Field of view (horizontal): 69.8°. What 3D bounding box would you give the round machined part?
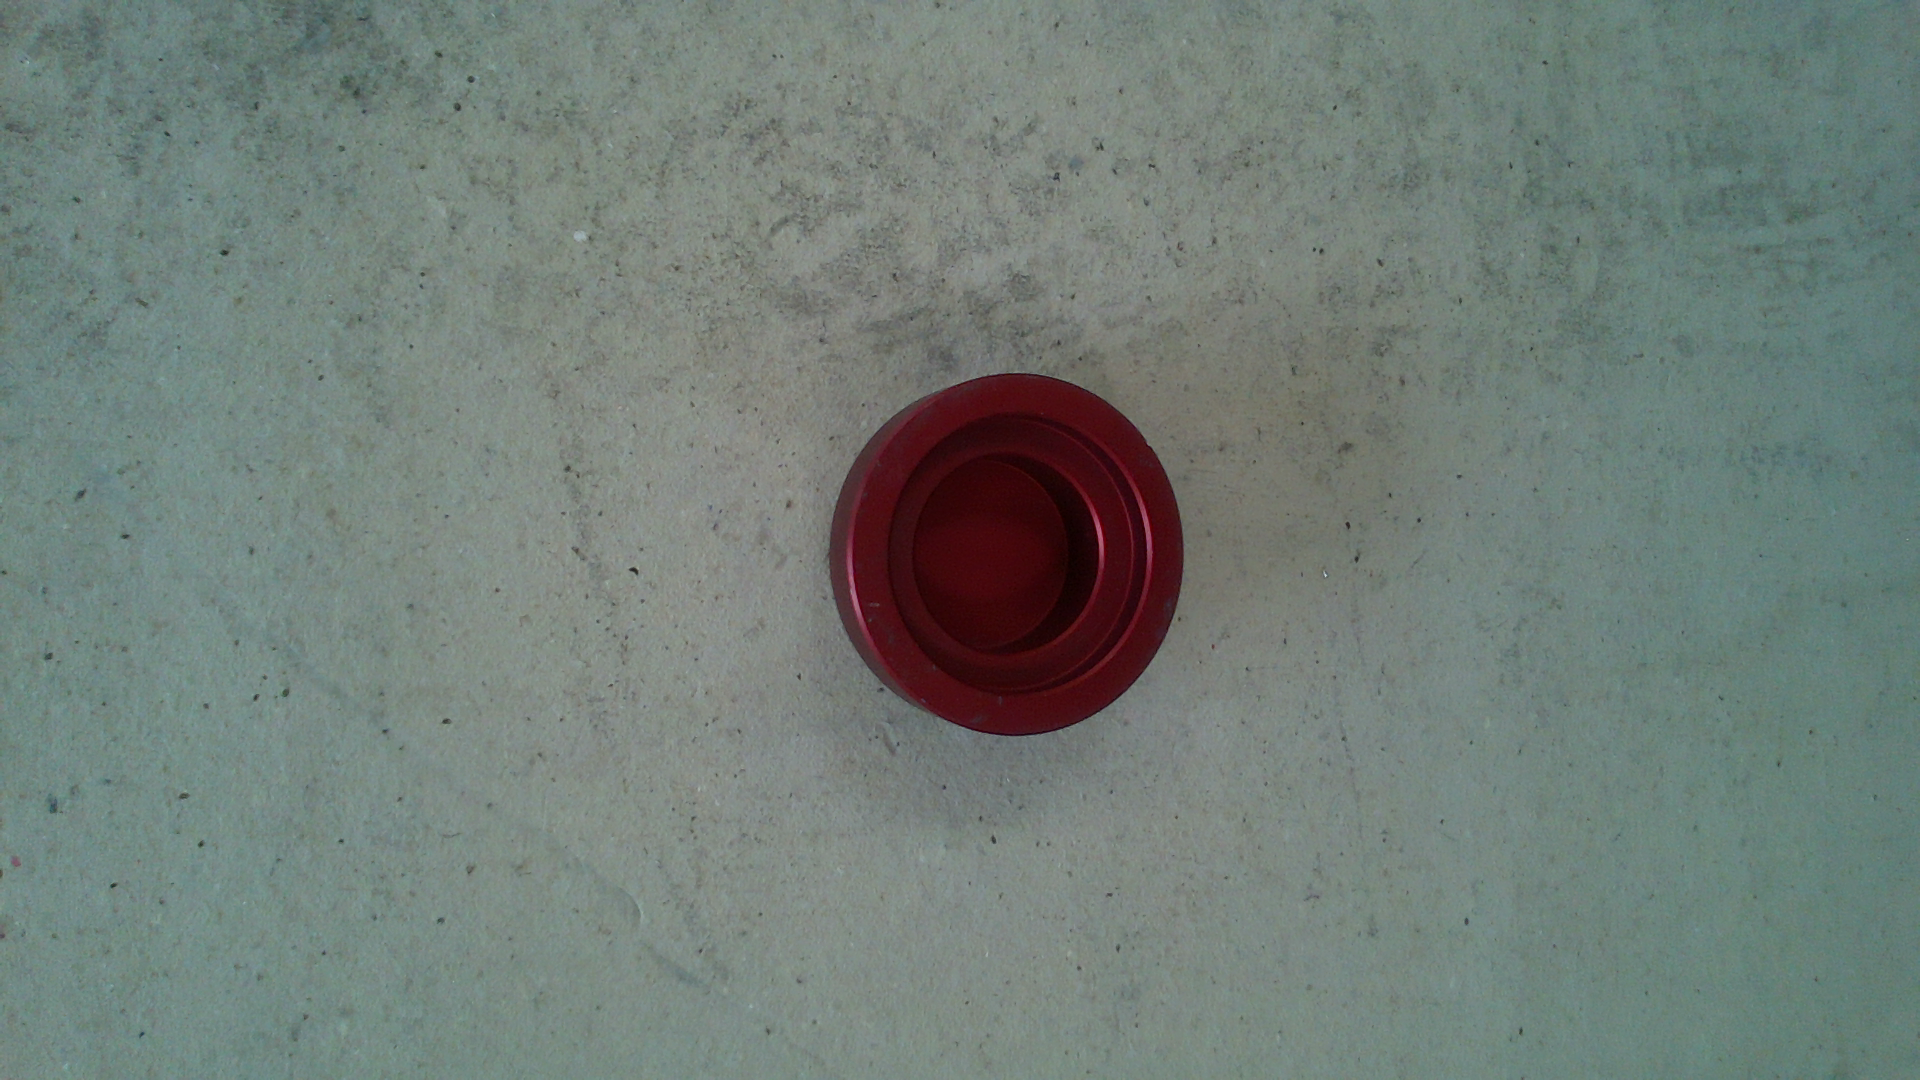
[{"bbox_3d":[0.010,0.004,0.388,0.098,0.042,0.098,0,90,-20],"label":"round machined part"}]
